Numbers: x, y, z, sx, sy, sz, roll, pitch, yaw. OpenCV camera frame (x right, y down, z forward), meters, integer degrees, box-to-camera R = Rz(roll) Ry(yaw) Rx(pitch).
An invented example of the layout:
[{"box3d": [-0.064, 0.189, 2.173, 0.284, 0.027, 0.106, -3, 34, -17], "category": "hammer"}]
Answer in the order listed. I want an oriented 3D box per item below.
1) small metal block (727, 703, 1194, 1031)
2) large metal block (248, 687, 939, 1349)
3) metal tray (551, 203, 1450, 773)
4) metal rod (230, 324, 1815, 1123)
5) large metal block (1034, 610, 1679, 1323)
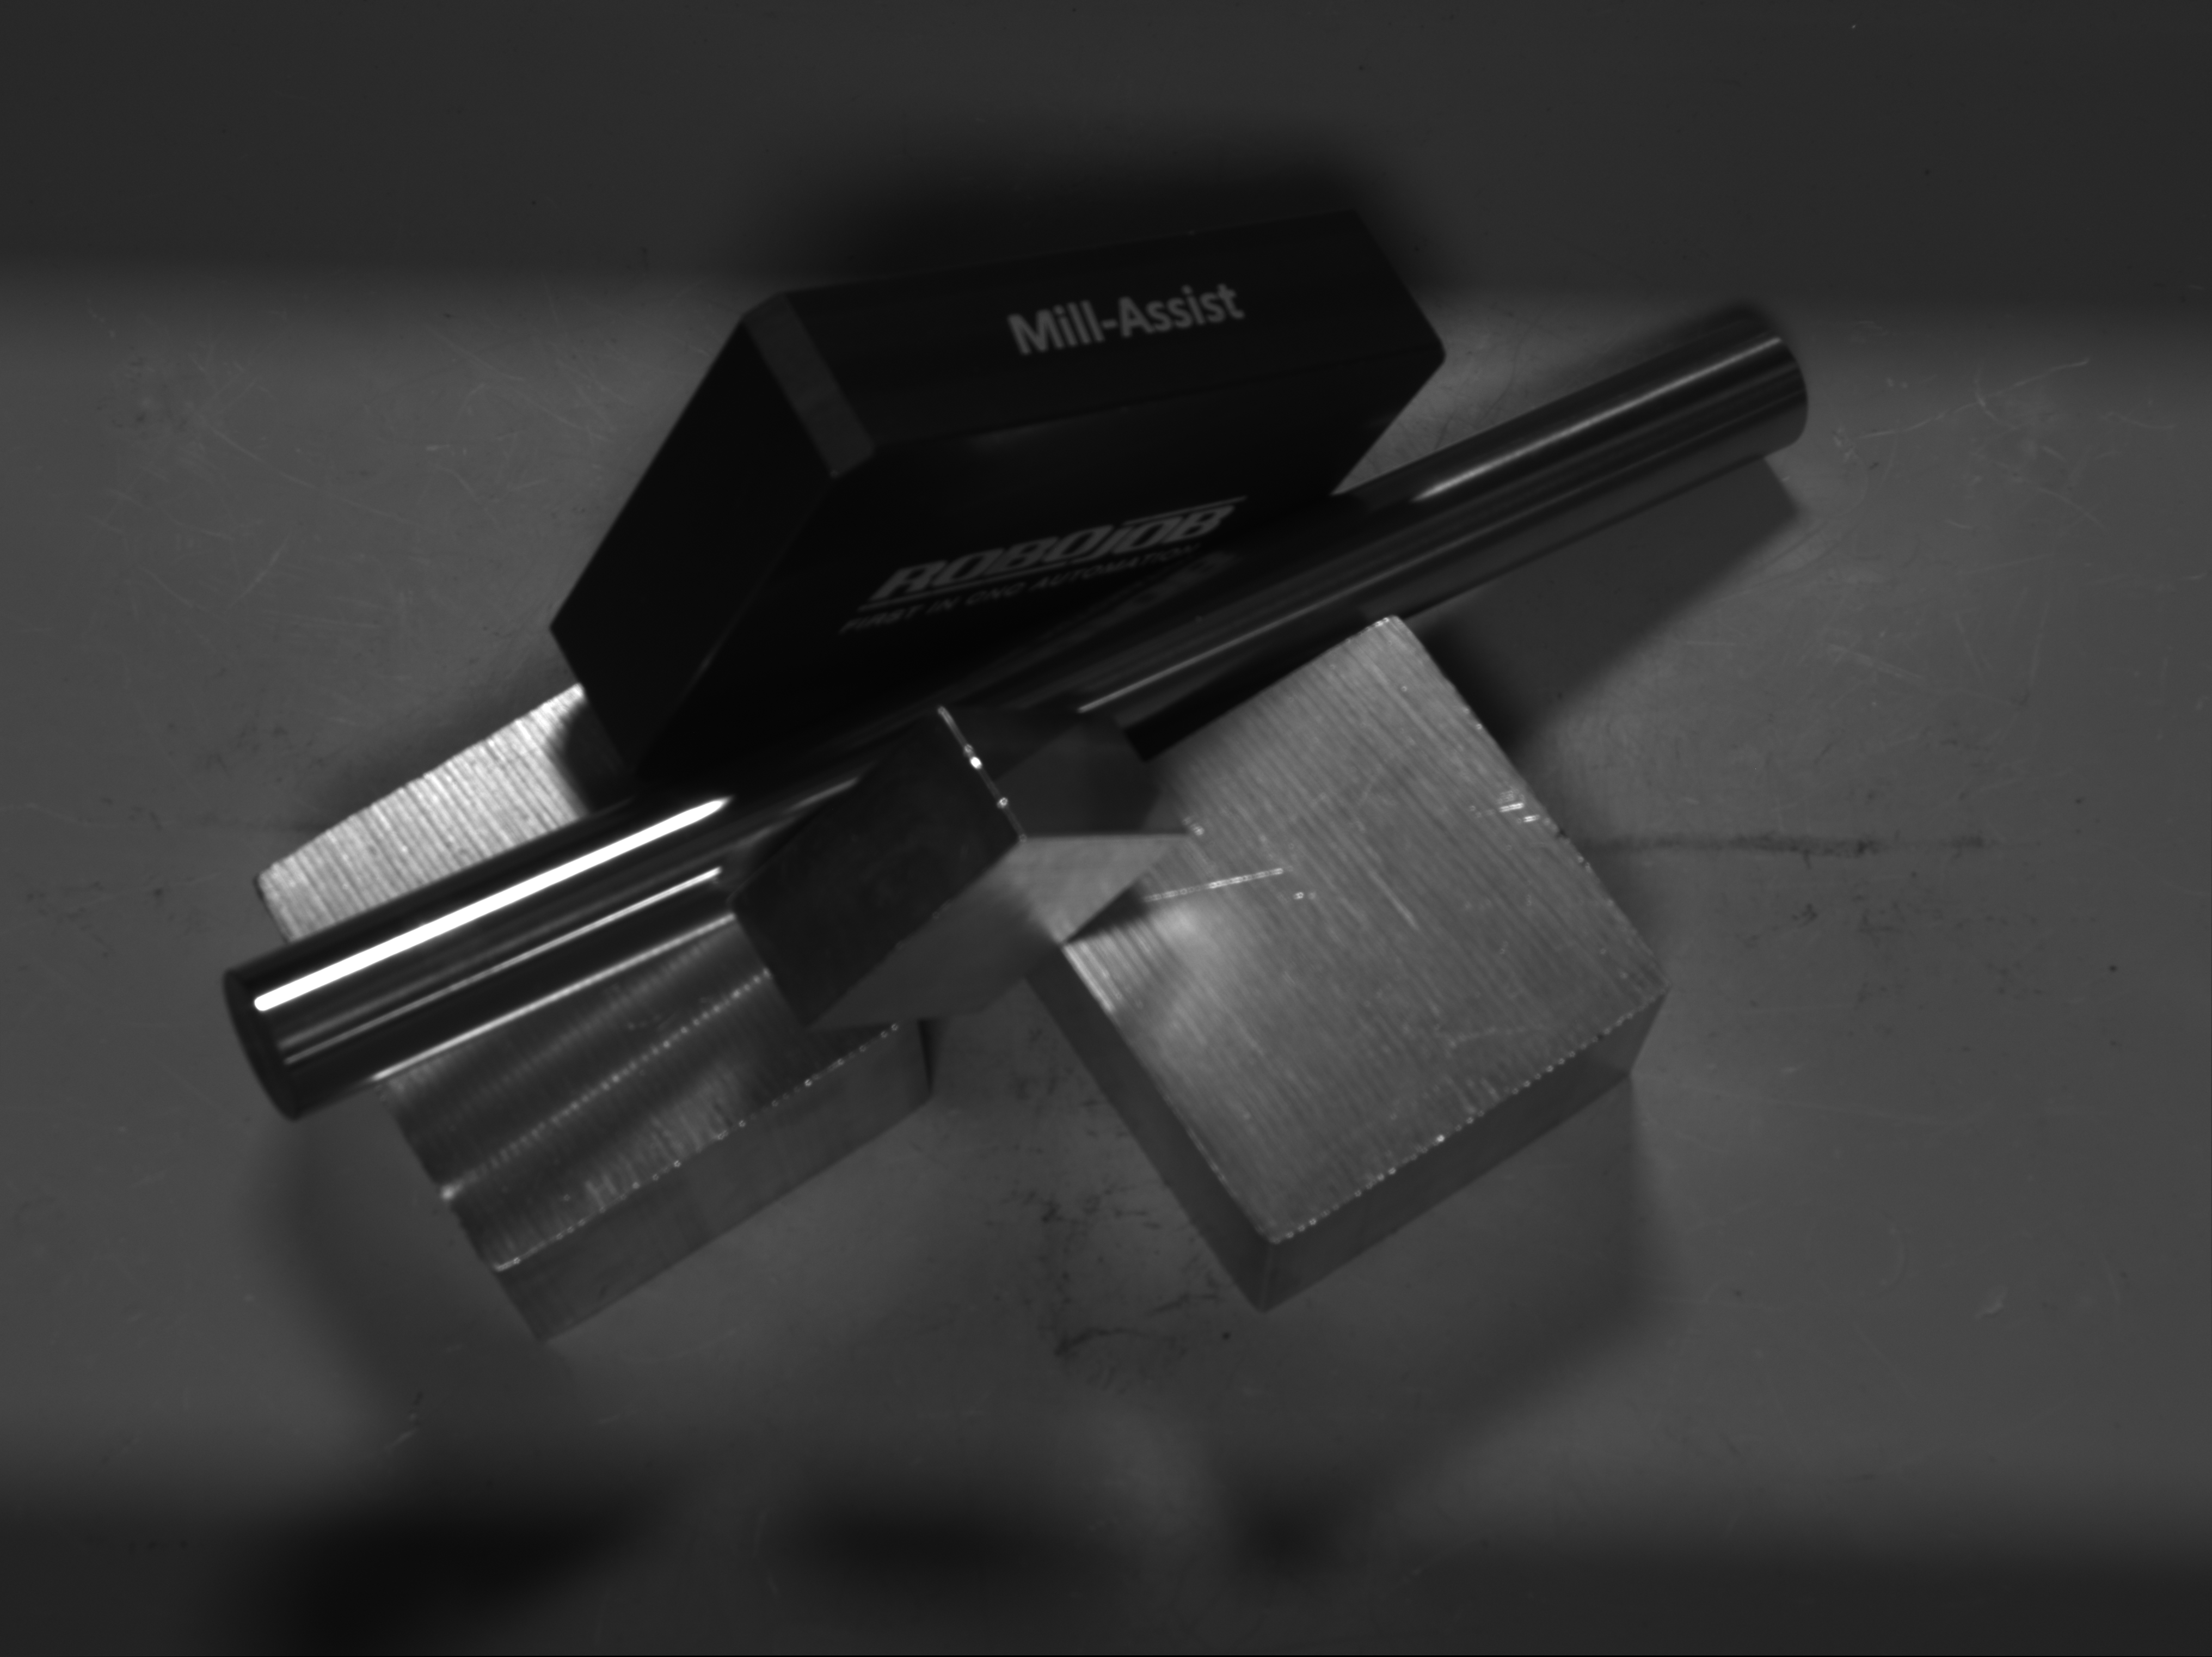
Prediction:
[{"box3d": [-0.022, 0.006, 0.576, 0.050, 0.050, 0.025, -41, 70, 25], "category": "small metal block"}, {"box3d": [-0.085, 0.028, 0.618, 0.080, 0.050, 0.080, -32, 73, -11], "category": "large metal block"}, {"box3d": [-0.016, -0.057, 0.601, 0.130, 0.090, 0.030, -16, 68, -40], "category": "metal tray"}, {"box3d": [-0.002, -0.024, 0.613, 0.301, 0.025, 0.025, -25, 71, -25], "category": "metal rod"}, {"box3d": [0.038, 0.024, 0.622, 0.080, 0.050, 0.080, -32, 73, -11], "category": "large metal block"}]
